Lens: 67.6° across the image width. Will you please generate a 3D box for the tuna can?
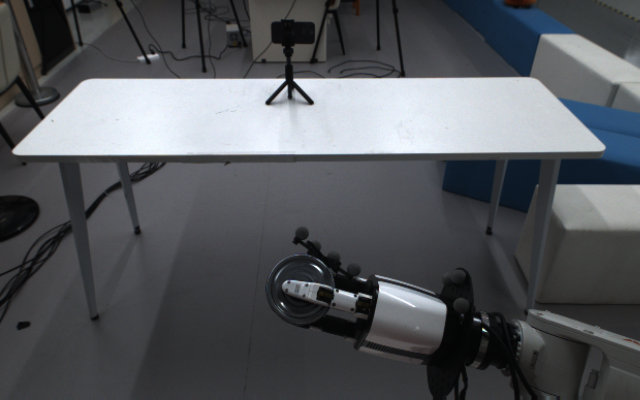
[{"bbox_3d":[-0.019,0.116,0.593,0.085,0.034,0.085,0,73,0],"label":"tuna can"}]
